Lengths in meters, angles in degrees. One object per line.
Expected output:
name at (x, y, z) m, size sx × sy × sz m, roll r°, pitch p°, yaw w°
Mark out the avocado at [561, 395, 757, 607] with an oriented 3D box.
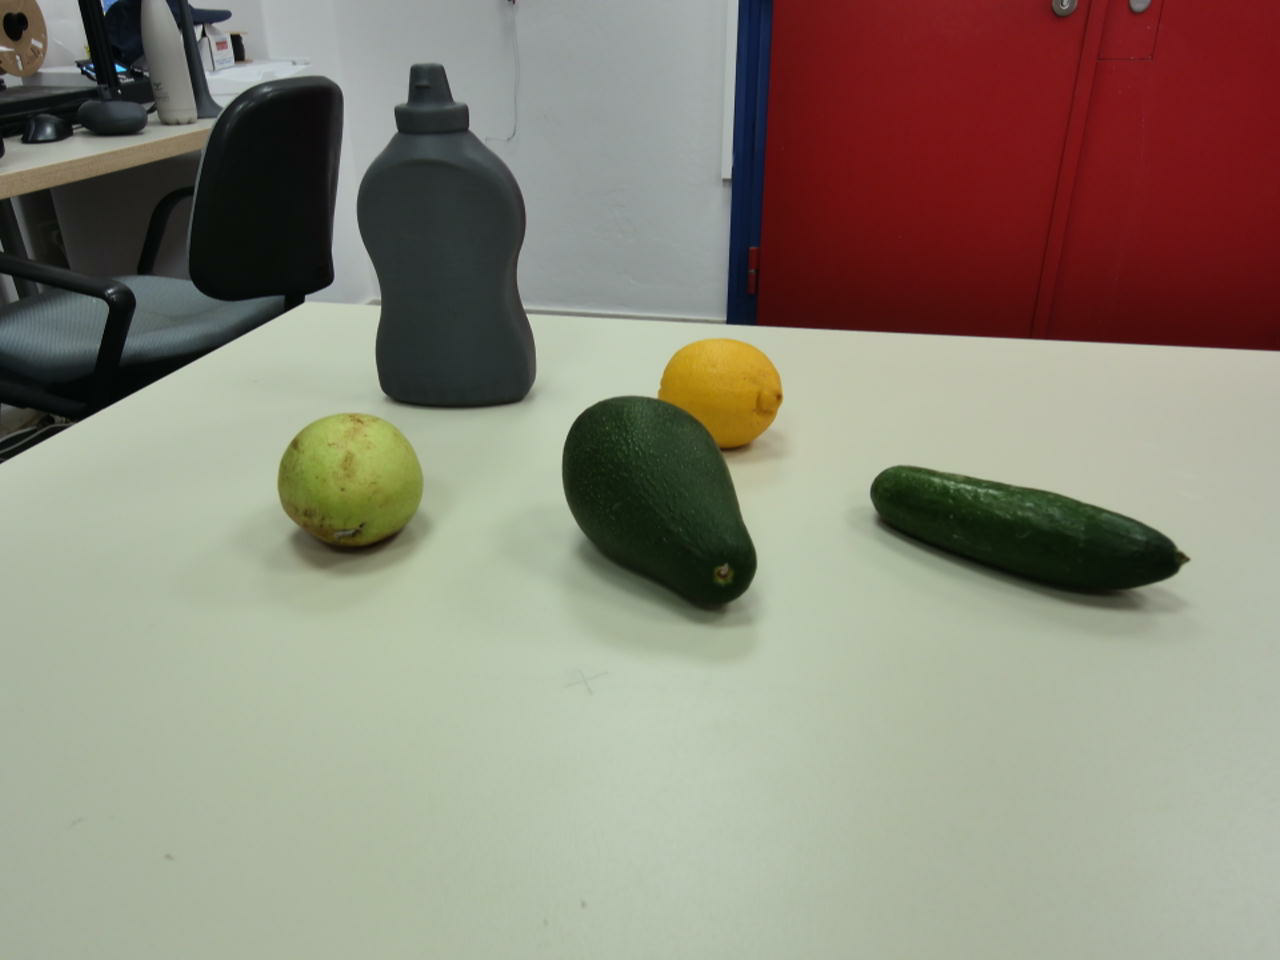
avocado at (0.004, 0.005, 0.423) m, size 0.072 × 0.071 × 0.109 m, roll -5°, pitch 24°, yaw -9°
